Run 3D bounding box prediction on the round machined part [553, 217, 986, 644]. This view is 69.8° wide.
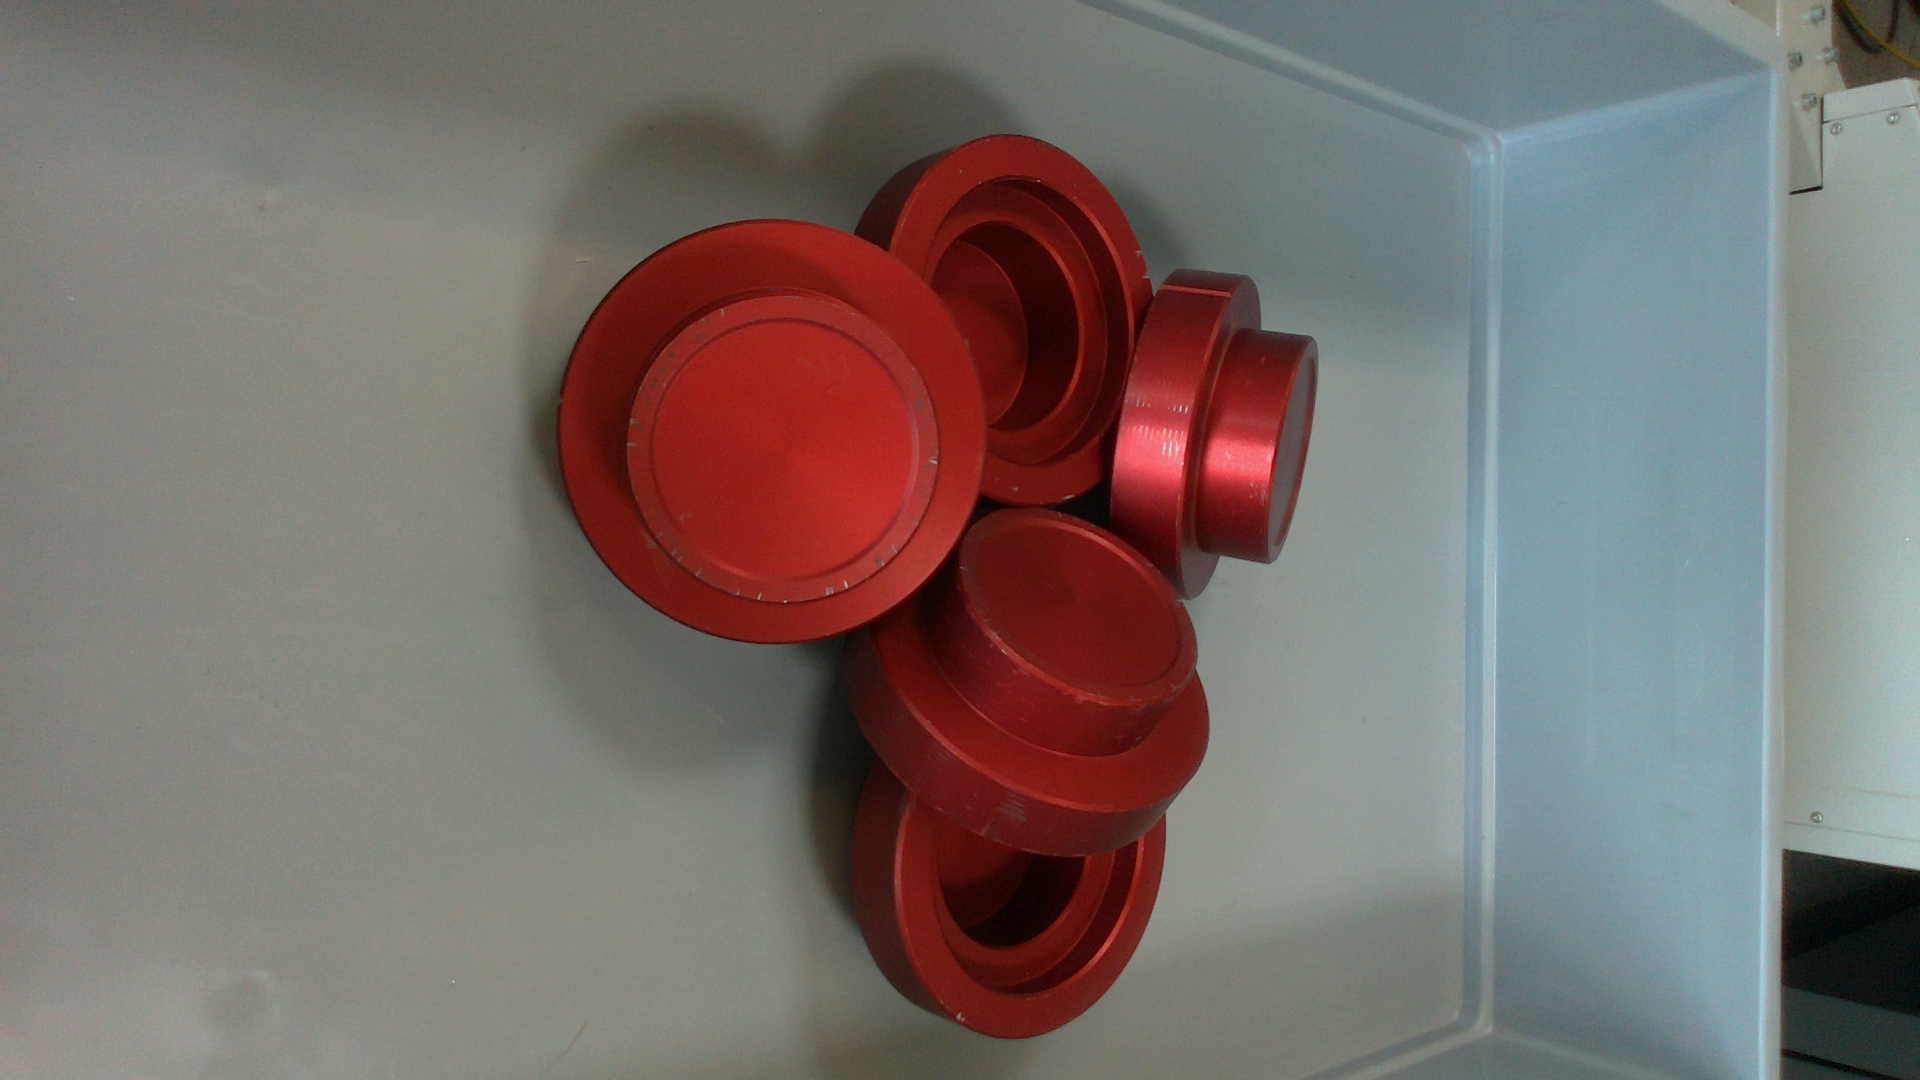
[{"bbox_3d":[-0.042,-0.023,0.313,0.098,0.042,0.098,-2,102,-12],"label":"round machined part"}]

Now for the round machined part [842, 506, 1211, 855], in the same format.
[{"bbox_3d":[0.022,0.029,0.358,0.098,0.098,0.042,-8,140,-40],"label":"round machined part"}]

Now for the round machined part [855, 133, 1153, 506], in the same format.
[{"bbox_3d":[0.007,-0.058,0.380,0.098,0.042,0.098,0,90,-40],"label":"round machined part"}]

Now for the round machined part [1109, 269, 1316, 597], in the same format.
[{"bbox_3d":[0.079,-0.030,0.413,0.098,0.042,0.098,11,90,-70],"label":"round machined part"}]

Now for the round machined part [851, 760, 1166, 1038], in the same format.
[{"bbox_3d":[0.009,0.083,0.383,0.098,0.042,0.098,0,90,-40],"label":"round machined part"}]
